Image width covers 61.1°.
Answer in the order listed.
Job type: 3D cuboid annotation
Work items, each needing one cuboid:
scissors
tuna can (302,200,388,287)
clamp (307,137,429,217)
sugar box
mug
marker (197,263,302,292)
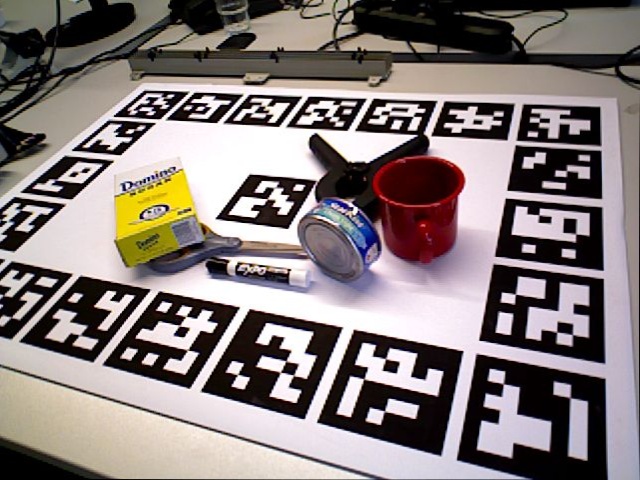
[{"bbox_3d":[-0.107,0.004,0.625,0.203,0.016,0.086,1,39,12],"label":"scissors"},{"bbox_3d":[0.023,0.005,0.546,0.086,0.087,0.033,22,51,32],"label":"tuna can"},{"bbox_3d":[0.048,-0.067,0.674,0.166,0.037,0.198,1,44,13],"label":"clamp"},{"bbox_3d":[-0.200,-0.036,0.668,0.092,0.046,0.175,-17,36,-7],"label":"sugar box"},{"bbox_3d":[0.097,-0.018,0.562,0.093,0.083,0.115,-11,38,0],"label":"mug"},{"bbox_3d":[-0.078,0.039,0.584,0.121,0.020,0.019,5,45,19],"label":"marker"}]
